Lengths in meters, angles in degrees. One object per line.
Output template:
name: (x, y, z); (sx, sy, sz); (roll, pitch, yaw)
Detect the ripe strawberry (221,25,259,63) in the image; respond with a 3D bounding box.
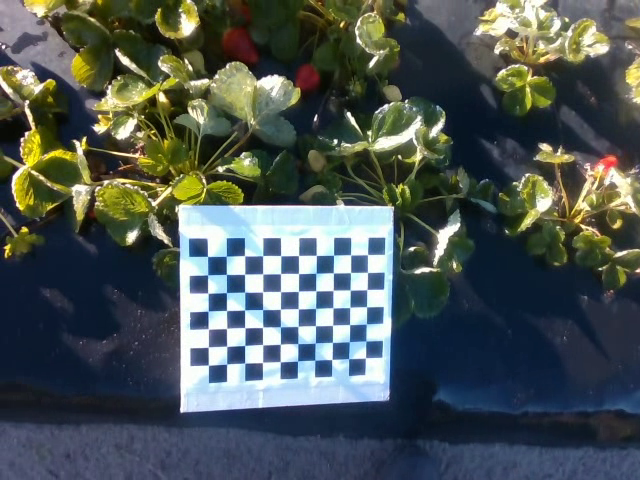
ripe strawberry: (-0.103, -0.257, 0.856); (0.044, 0.056, 0.040); (-42, 10, -12)

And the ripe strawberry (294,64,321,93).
ripe strawberry: (-0.019, -0.215, 0.865); (0.039, 0.047, 0.040); (39, -21, -12)
